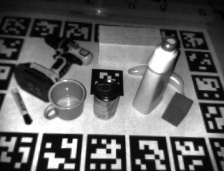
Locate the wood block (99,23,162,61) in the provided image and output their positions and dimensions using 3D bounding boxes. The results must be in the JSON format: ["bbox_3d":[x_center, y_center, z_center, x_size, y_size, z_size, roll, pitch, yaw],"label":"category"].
[{"bbox_3d":[0.060,-0.146,0.731,0.207,0.091,0.089,2,56,-6],"label":"wood block"}]

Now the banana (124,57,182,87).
[{"bbox_3d":[0.139,-0.057,0.707,0.197,0.039,0.074,17,69,1],"label":"banana"}]

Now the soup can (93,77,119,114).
[{"bbox_3d":[-0.017,0.025,0.586,0.068,0.102,0.067,5,51,-5],"label":"soup can"}]

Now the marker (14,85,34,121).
[{"bbox_3d":[-0.245,0.048,0.599,0.020,0.020,0.120,-24,63,-19],"label":"marker"}]

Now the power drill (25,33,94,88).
[{"bbox_3d":[-0.175,-0.080,0.677,0.184,0.057,0.187,29,56,8],"label":"power drill"}]

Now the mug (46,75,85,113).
[{"bbox_3d":[-0.127,0.032,0.585,0.092,0.081,0.118,41,63,17],"label":"mug"}]

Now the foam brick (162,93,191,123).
[{"bbox_3d":[0.184,0.060,0.615,0.052,0.078,0.051,30,55,16],"label":"foam brick"}]

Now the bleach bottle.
[{"bbox_3d":[0.113,-0.033,0.561,0.067,0.251,0.103,27,56,13],"label":"bleach bottle"}]
